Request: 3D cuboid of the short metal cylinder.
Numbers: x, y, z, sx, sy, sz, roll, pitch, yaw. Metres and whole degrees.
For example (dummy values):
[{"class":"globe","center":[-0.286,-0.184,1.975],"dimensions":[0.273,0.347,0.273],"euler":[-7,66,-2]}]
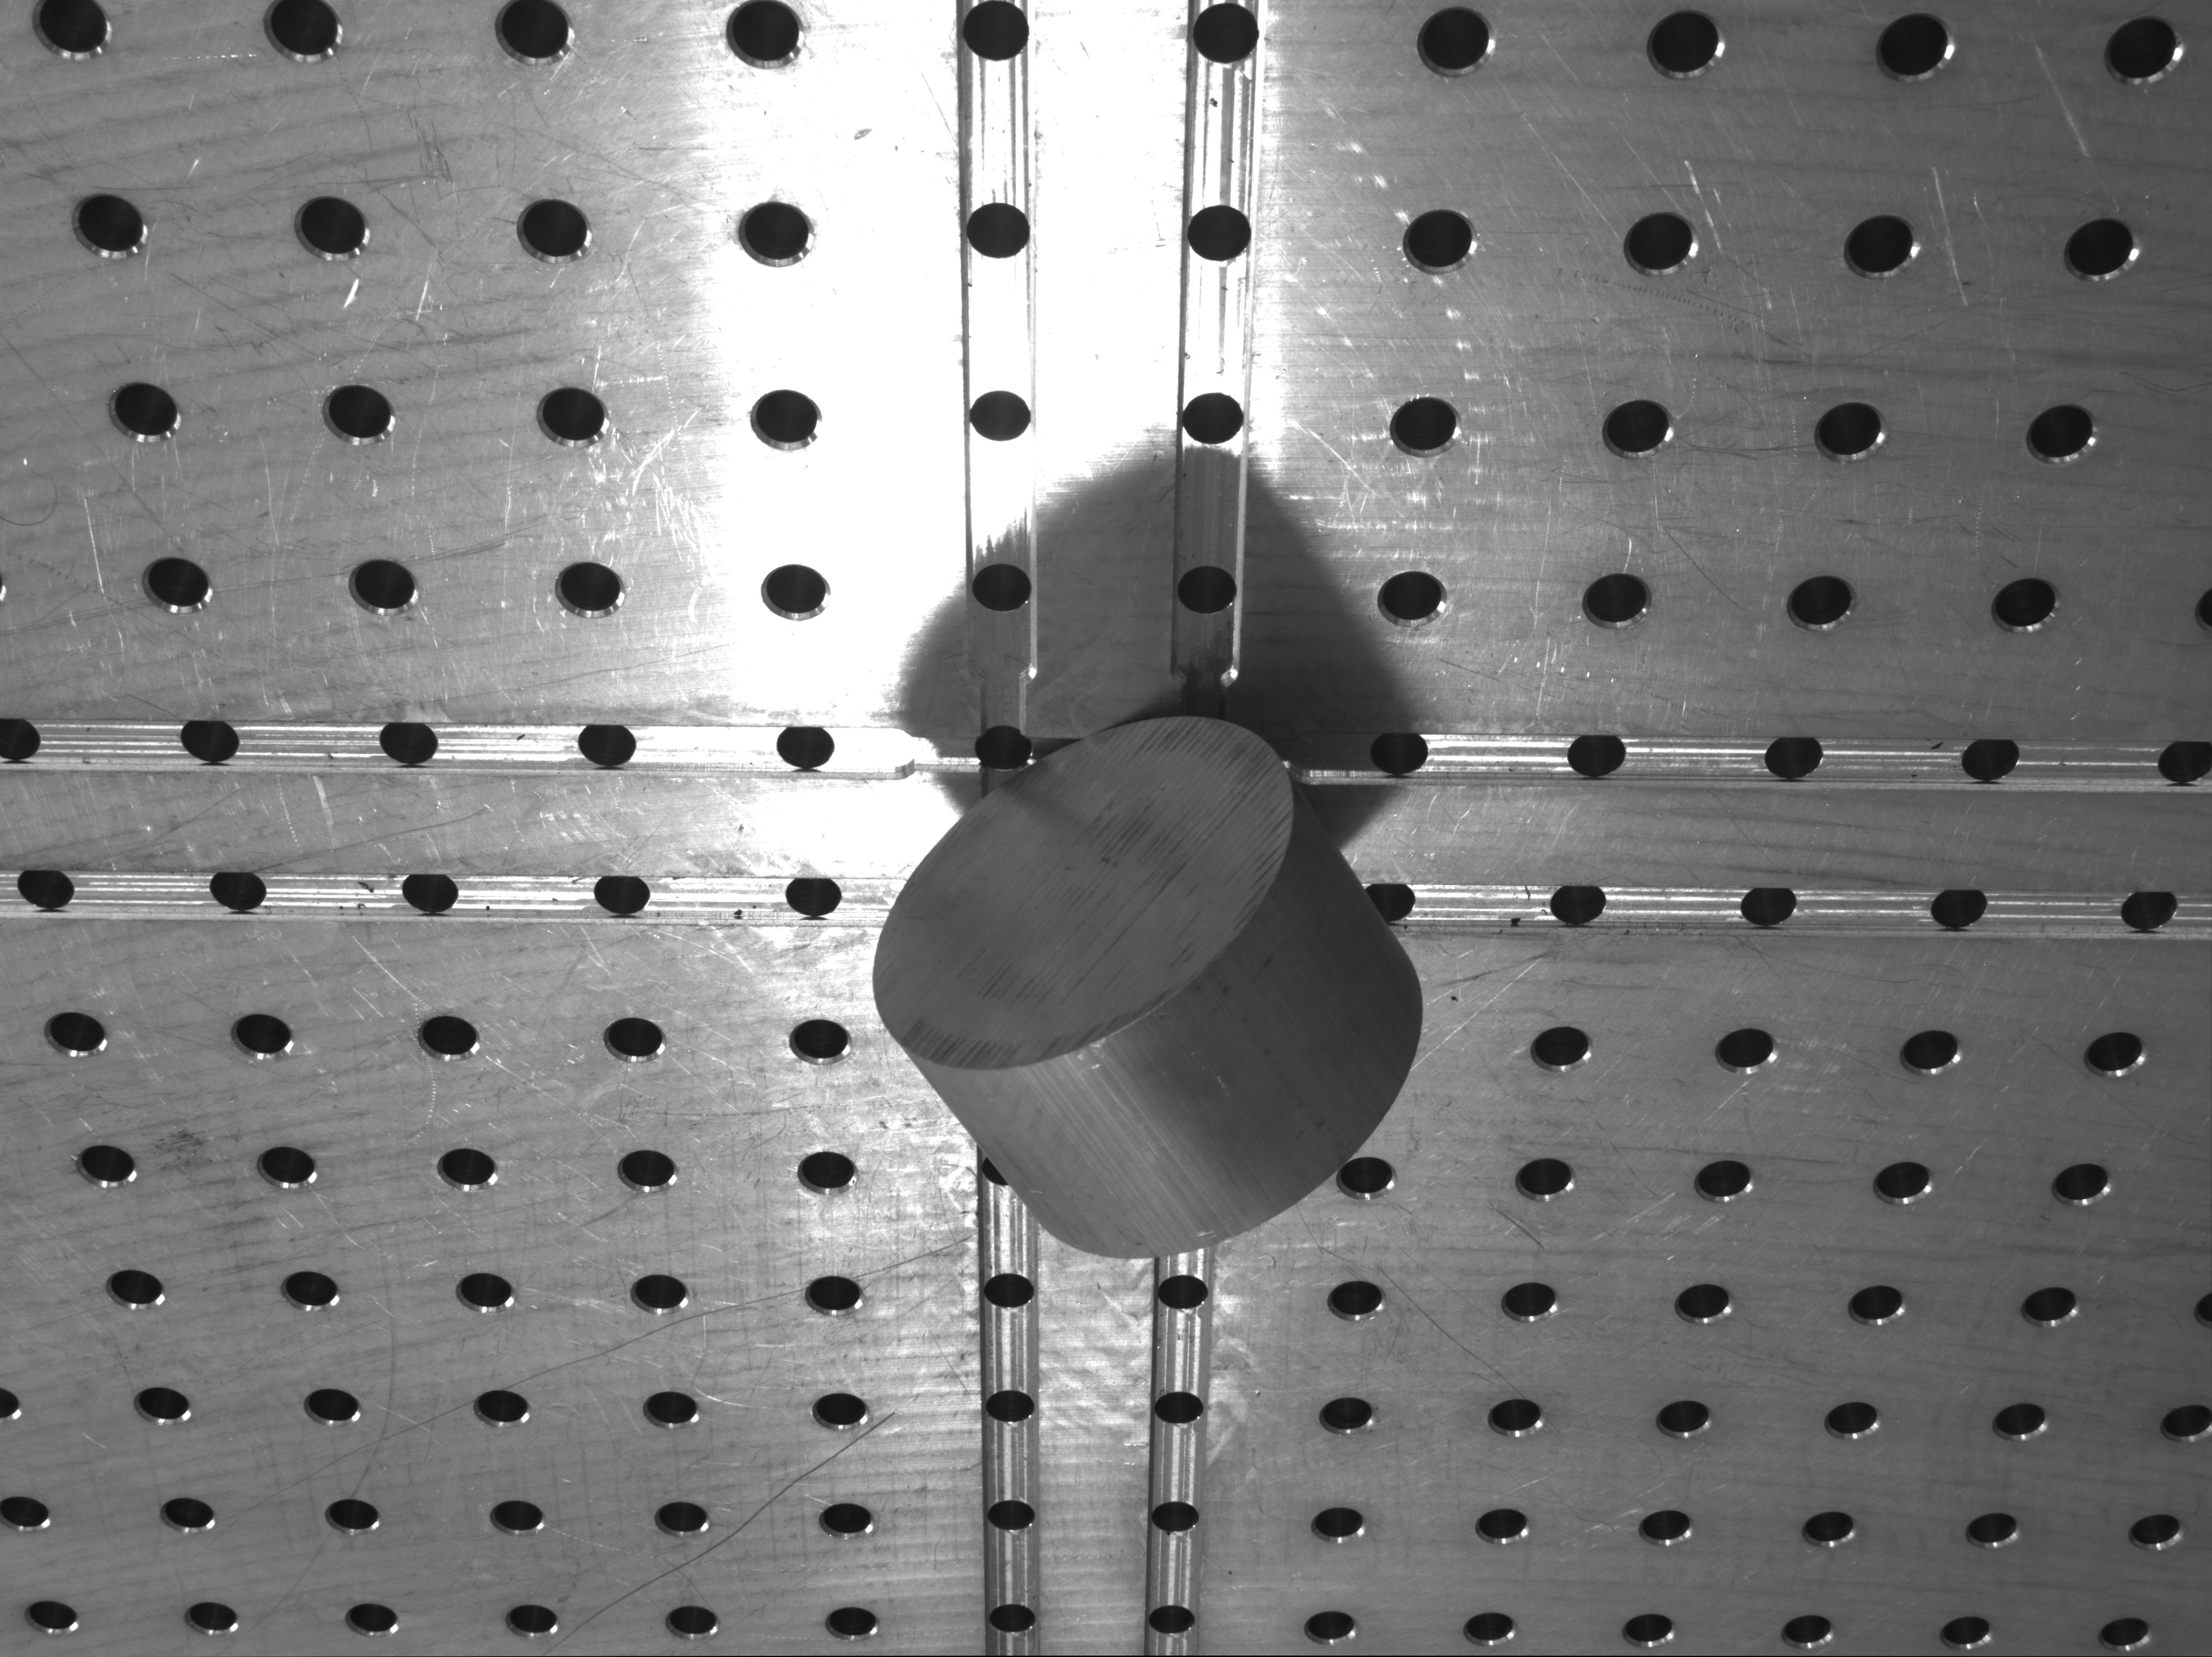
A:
[{"class":"short metal cylinder","center":[0.007,0.027,0.629],"dimensions":[0.080,0.080,0.050],"euler":[-22,126,18]}]
